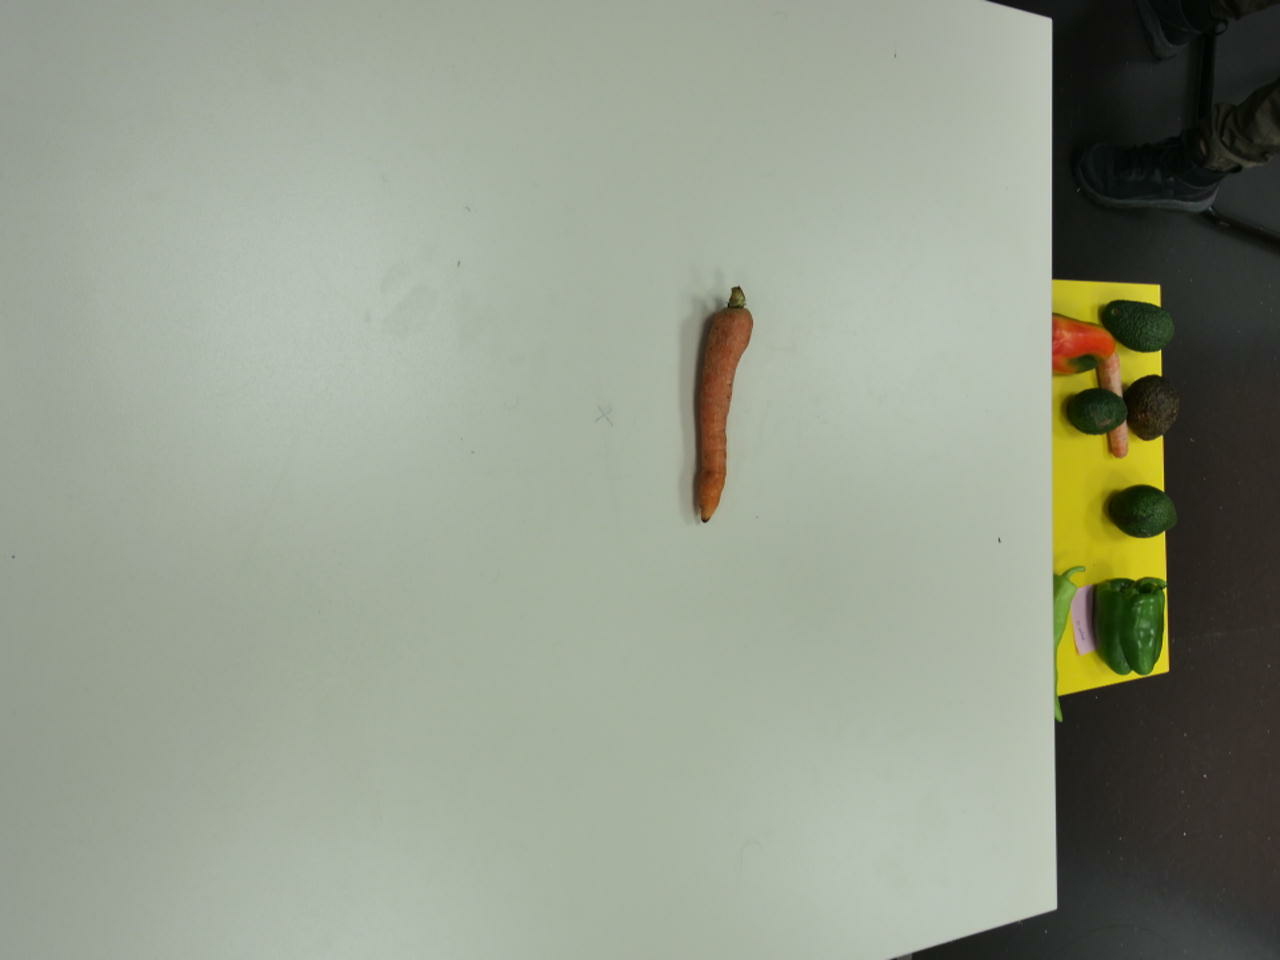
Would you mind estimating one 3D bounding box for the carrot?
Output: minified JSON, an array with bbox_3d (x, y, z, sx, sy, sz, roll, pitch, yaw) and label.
[{"bbox_3d":[0.058,-0.054,0.717,0.030,0.032,0.173,10,86,-28],"label":"carrot"}]
